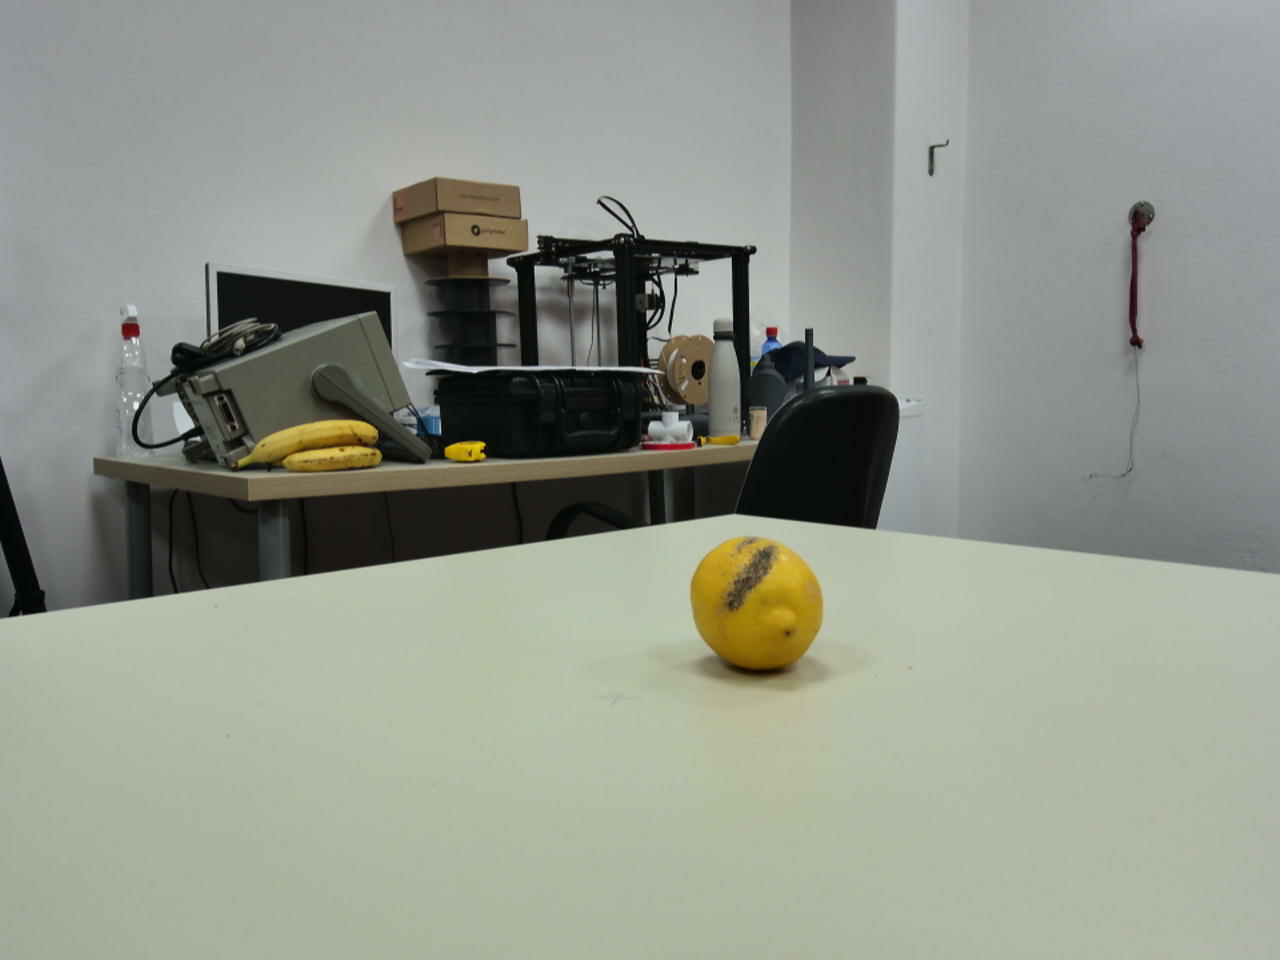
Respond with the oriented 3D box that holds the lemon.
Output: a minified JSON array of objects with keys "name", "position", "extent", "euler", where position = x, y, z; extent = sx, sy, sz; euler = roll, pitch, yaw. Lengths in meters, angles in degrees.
[{"name":"lemon","position":[0.052,0.055,0.442],"extent":[0.061,0.056,0.058],"euler":[3,4,42]}]
